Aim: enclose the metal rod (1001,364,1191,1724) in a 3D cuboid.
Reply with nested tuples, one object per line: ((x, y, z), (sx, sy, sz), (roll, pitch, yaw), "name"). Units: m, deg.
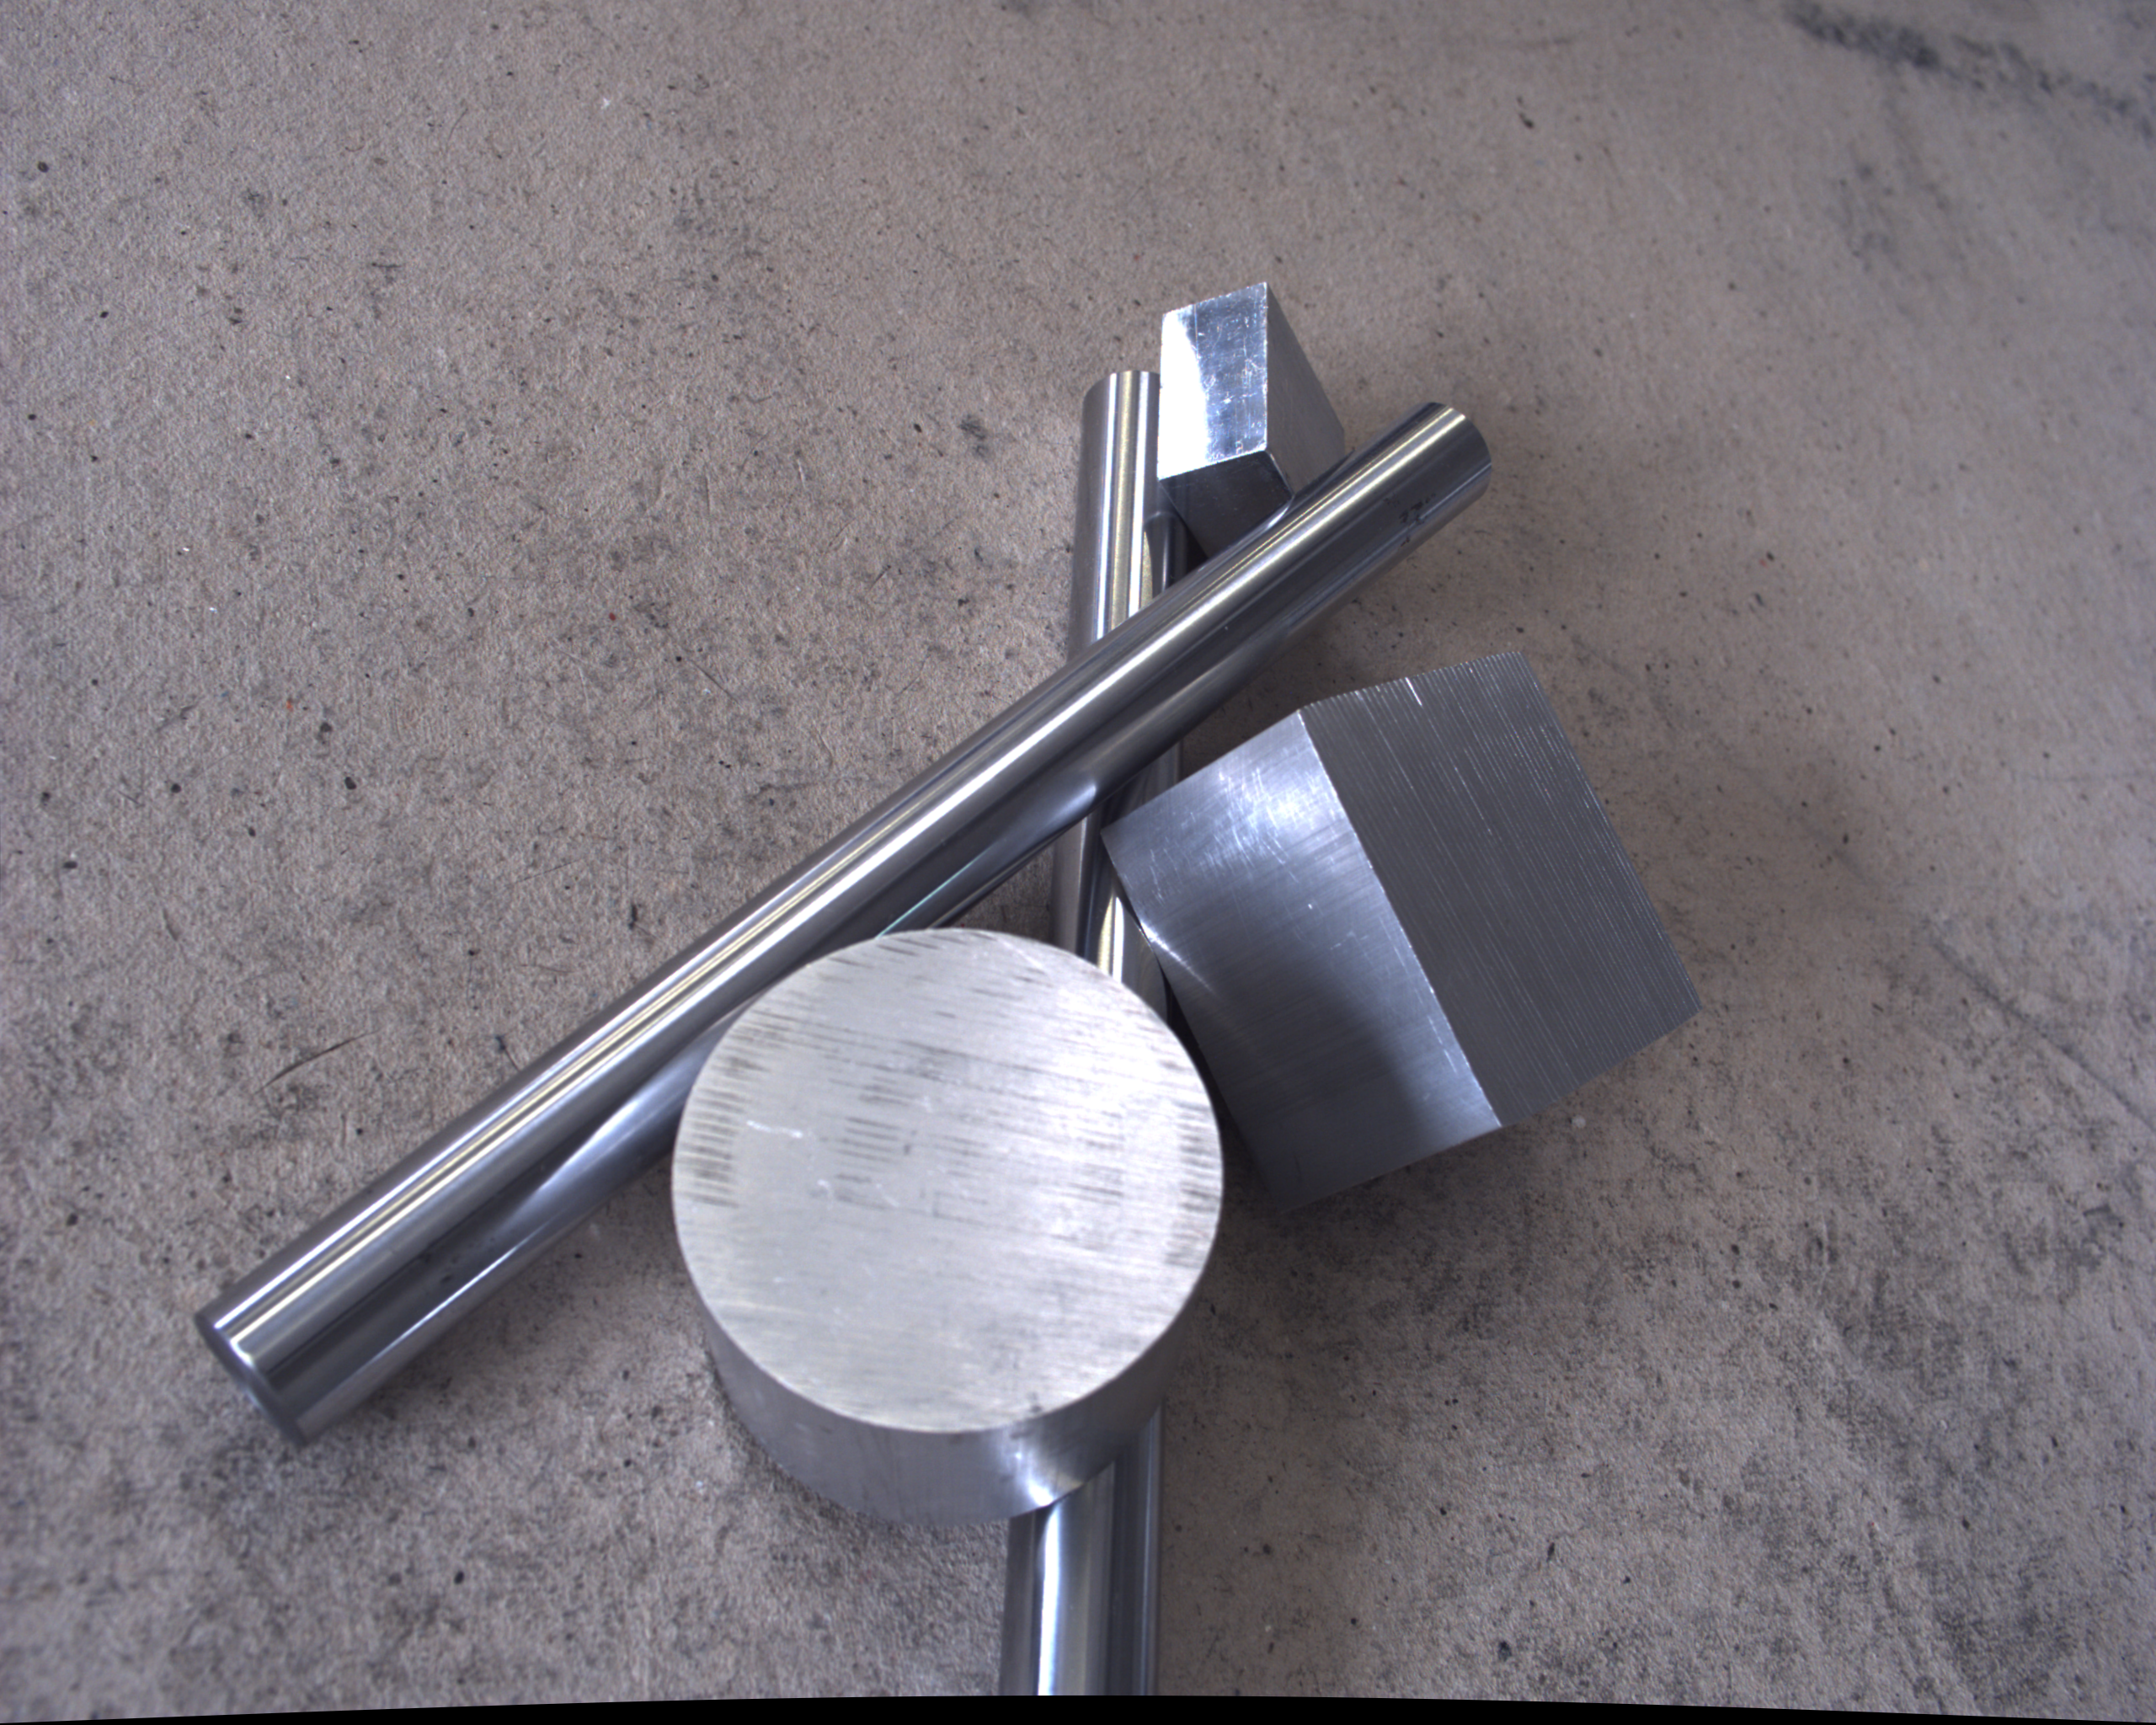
((0.007, 0.022, 0.395), (0.025, 0.025, 0.300), (16, 55, -19), "metal rod")

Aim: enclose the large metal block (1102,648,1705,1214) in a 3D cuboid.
((0.063, 0.011, 0.398), (0.081, 0.050, 0.080), (-17, 80, -48), "large metal block")

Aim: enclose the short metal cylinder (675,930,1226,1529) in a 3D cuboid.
((-0.020, 0.057, 0.327), (0.081, 0.050, 0.080), (2, 57, -3), "short metal cylinder")

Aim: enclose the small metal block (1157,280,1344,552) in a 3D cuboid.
((0.040, -0.092, 0.466), (0.050, 0.025, 0.050), (49, 35, -49), "small metal block")

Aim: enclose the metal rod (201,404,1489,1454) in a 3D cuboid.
((-0.019, -0.007, 0.377), (0.025, 0.025, 0.302), (47, 58, 5), "metal rod")
